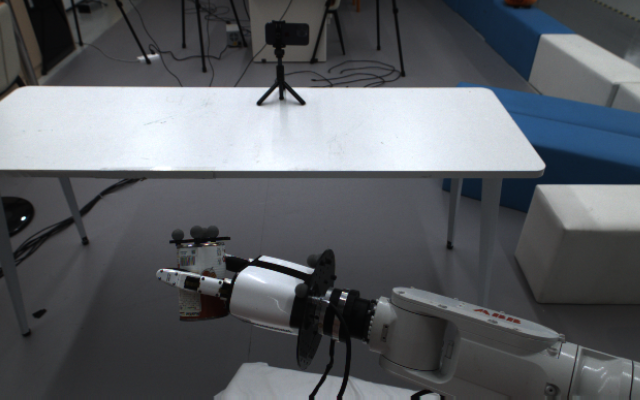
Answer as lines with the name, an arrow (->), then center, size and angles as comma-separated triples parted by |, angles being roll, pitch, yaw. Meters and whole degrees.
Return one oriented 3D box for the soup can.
soup can -> -0.162, 0.113, 0.671 | 0.067, 0.101, 0.067 | -5, -5, 0
